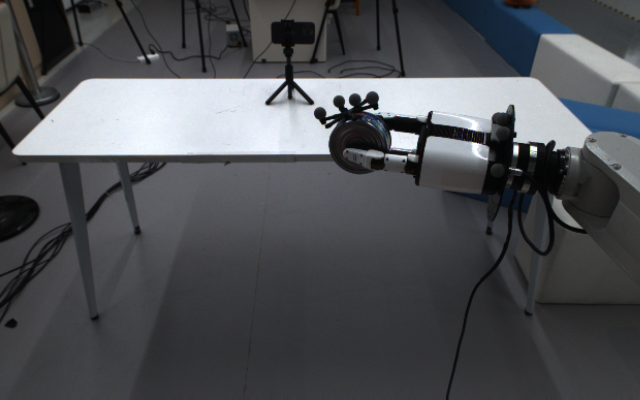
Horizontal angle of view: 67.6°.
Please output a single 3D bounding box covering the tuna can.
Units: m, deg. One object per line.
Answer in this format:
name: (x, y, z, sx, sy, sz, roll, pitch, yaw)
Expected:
tuna can: (0.060, -0.075, 0.688, 0.085, 0.085, 0.034, 11, 34, 13)
